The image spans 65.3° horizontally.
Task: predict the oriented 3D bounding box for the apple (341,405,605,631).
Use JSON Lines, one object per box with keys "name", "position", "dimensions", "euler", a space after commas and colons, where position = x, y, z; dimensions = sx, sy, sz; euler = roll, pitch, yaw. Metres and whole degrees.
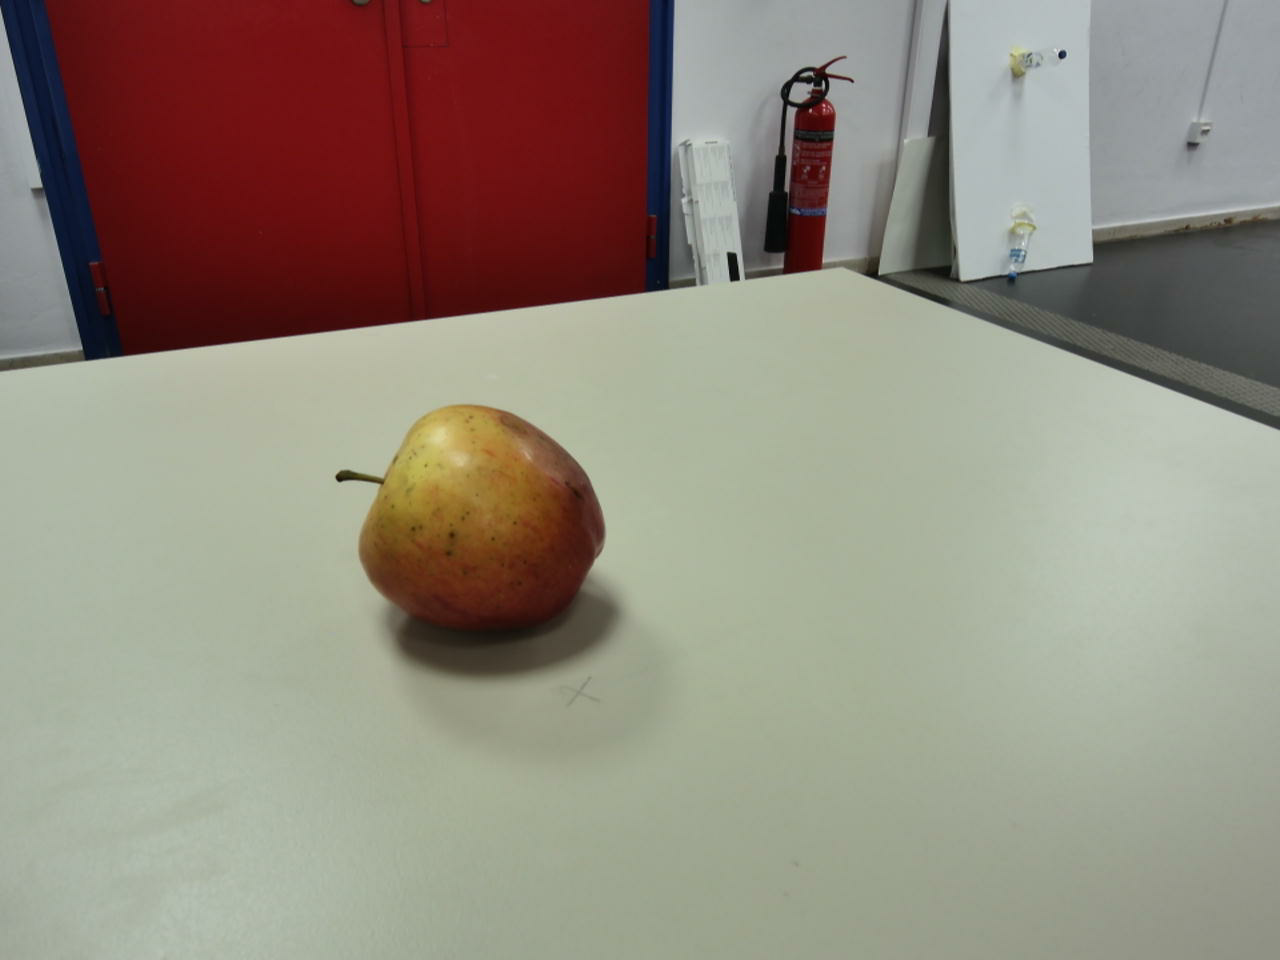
{"name": "apple", "position": [-0.062, 0.015, 0.381], "dimensions": [0.093, 0.084, 0.086], "euler": [13, 27, 25]}
